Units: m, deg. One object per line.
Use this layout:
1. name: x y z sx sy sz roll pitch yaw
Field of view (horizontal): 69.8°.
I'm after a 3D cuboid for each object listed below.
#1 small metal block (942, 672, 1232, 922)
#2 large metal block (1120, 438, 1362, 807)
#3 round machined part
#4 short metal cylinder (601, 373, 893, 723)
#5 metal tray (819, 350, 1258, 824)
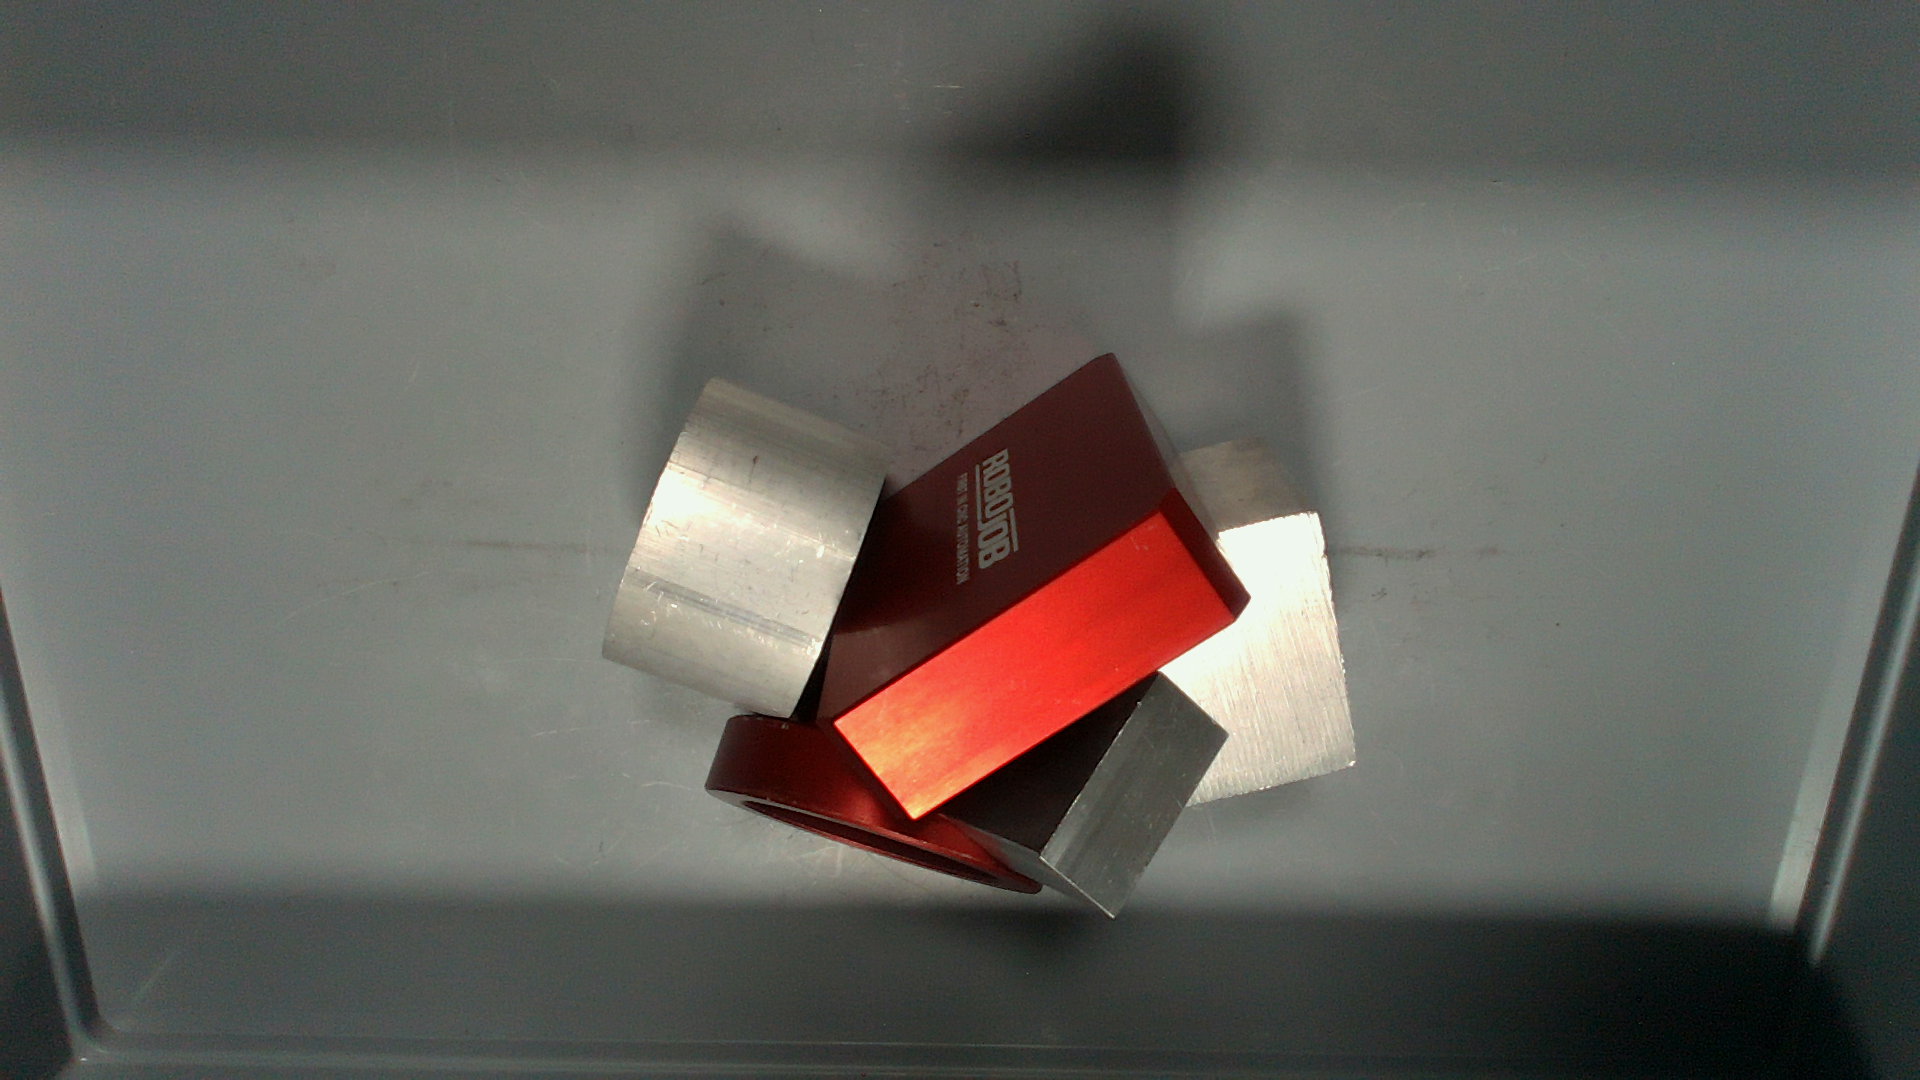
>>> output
1. small metal block: 0.029 0.056 0.328 0.025 0.050 0.050 42 73 -21
2. large metal block: 0.060 0.026 0.381 0.080 0.050 0.080 -13 114 5
3. round machined part: -0.019 0.065 0.388 0.098 0.098 0.042 19 74 -7
4. short metal cylinder: -0.056 0.003 0.364 0.050 0.080 0.080 21 109 -8
5. metal tray: 0.015 0.004 0.338 0.090 0.130 0.030 -34 108 11
